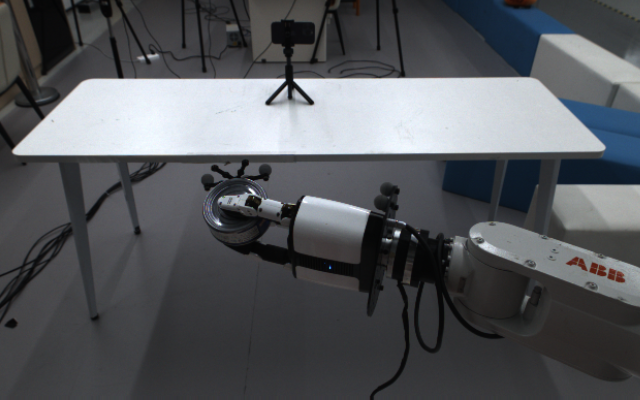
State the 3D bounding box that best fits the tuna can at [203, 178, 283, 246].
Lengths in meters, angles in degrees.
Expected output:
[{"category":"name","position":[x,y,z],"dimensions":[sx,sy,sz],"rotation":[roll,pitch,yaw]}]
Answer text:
[{"category":"tuna can","position":[-0.102,0.021,0.624],"dimensions":[0.085,0.034,0.085],"rotation":[-3,60,5]}]
